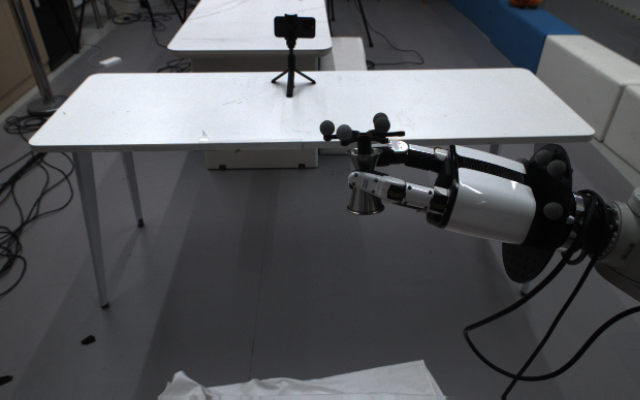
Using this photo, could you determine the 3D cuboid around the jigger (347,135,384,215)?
[{"bbox_3d":[0.051,-0.022,0.548,0.043,0.071,0.043,-2,19,1],"label":"jigger"}]
